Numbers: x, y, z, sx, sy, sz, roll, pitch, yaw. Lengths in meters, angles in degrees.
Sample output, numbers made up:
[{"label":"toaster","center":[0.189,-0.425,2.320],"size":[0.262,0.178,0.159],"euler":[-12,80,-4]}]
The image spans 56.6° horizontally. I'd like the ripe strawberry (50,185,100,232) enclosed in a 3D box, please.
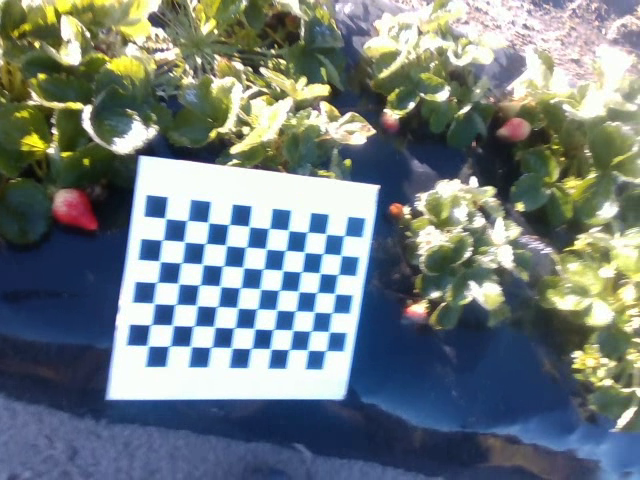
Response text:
[{"label":"ripe strawberry","center":[-0.288,-0.032,0.704],"size":[0.040,0.065,0.040],"euler":[-45,17,-10]}]
